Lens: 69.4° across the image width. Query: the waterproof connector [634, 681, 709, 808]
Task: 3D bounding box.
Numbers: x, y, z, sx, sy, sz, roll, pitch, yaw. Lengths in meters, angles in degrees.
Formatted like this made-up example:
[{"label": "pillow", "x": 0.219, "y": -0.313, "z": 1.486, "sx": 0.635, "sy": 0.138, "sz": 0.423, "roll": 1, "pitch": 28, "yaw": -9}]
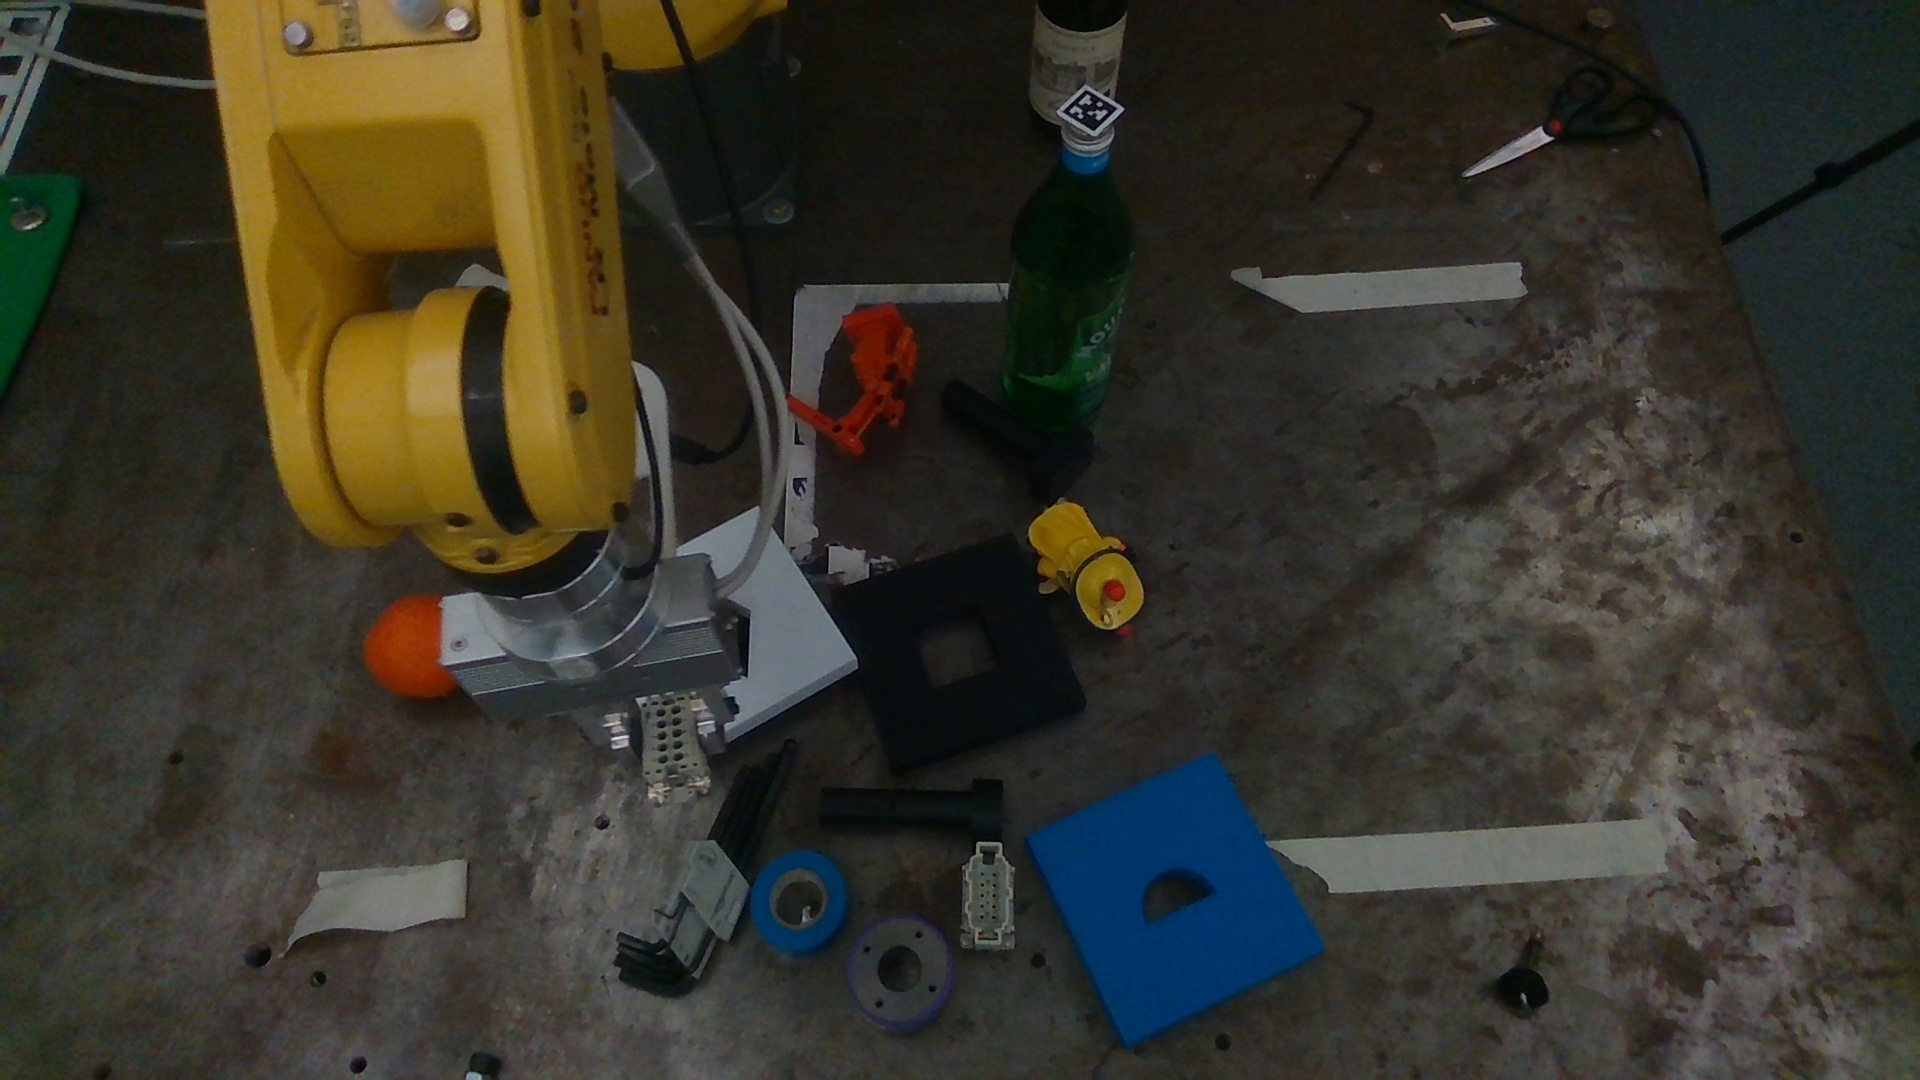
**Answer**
[{"label": "waterproof connector", "x": -0.159, "y": 0.112, "z": 0.769, "sx": 0.037, "sy": 0.038, "sz": 0.069, "roll": -10, "pitch": 62, "yaw": 2}]
